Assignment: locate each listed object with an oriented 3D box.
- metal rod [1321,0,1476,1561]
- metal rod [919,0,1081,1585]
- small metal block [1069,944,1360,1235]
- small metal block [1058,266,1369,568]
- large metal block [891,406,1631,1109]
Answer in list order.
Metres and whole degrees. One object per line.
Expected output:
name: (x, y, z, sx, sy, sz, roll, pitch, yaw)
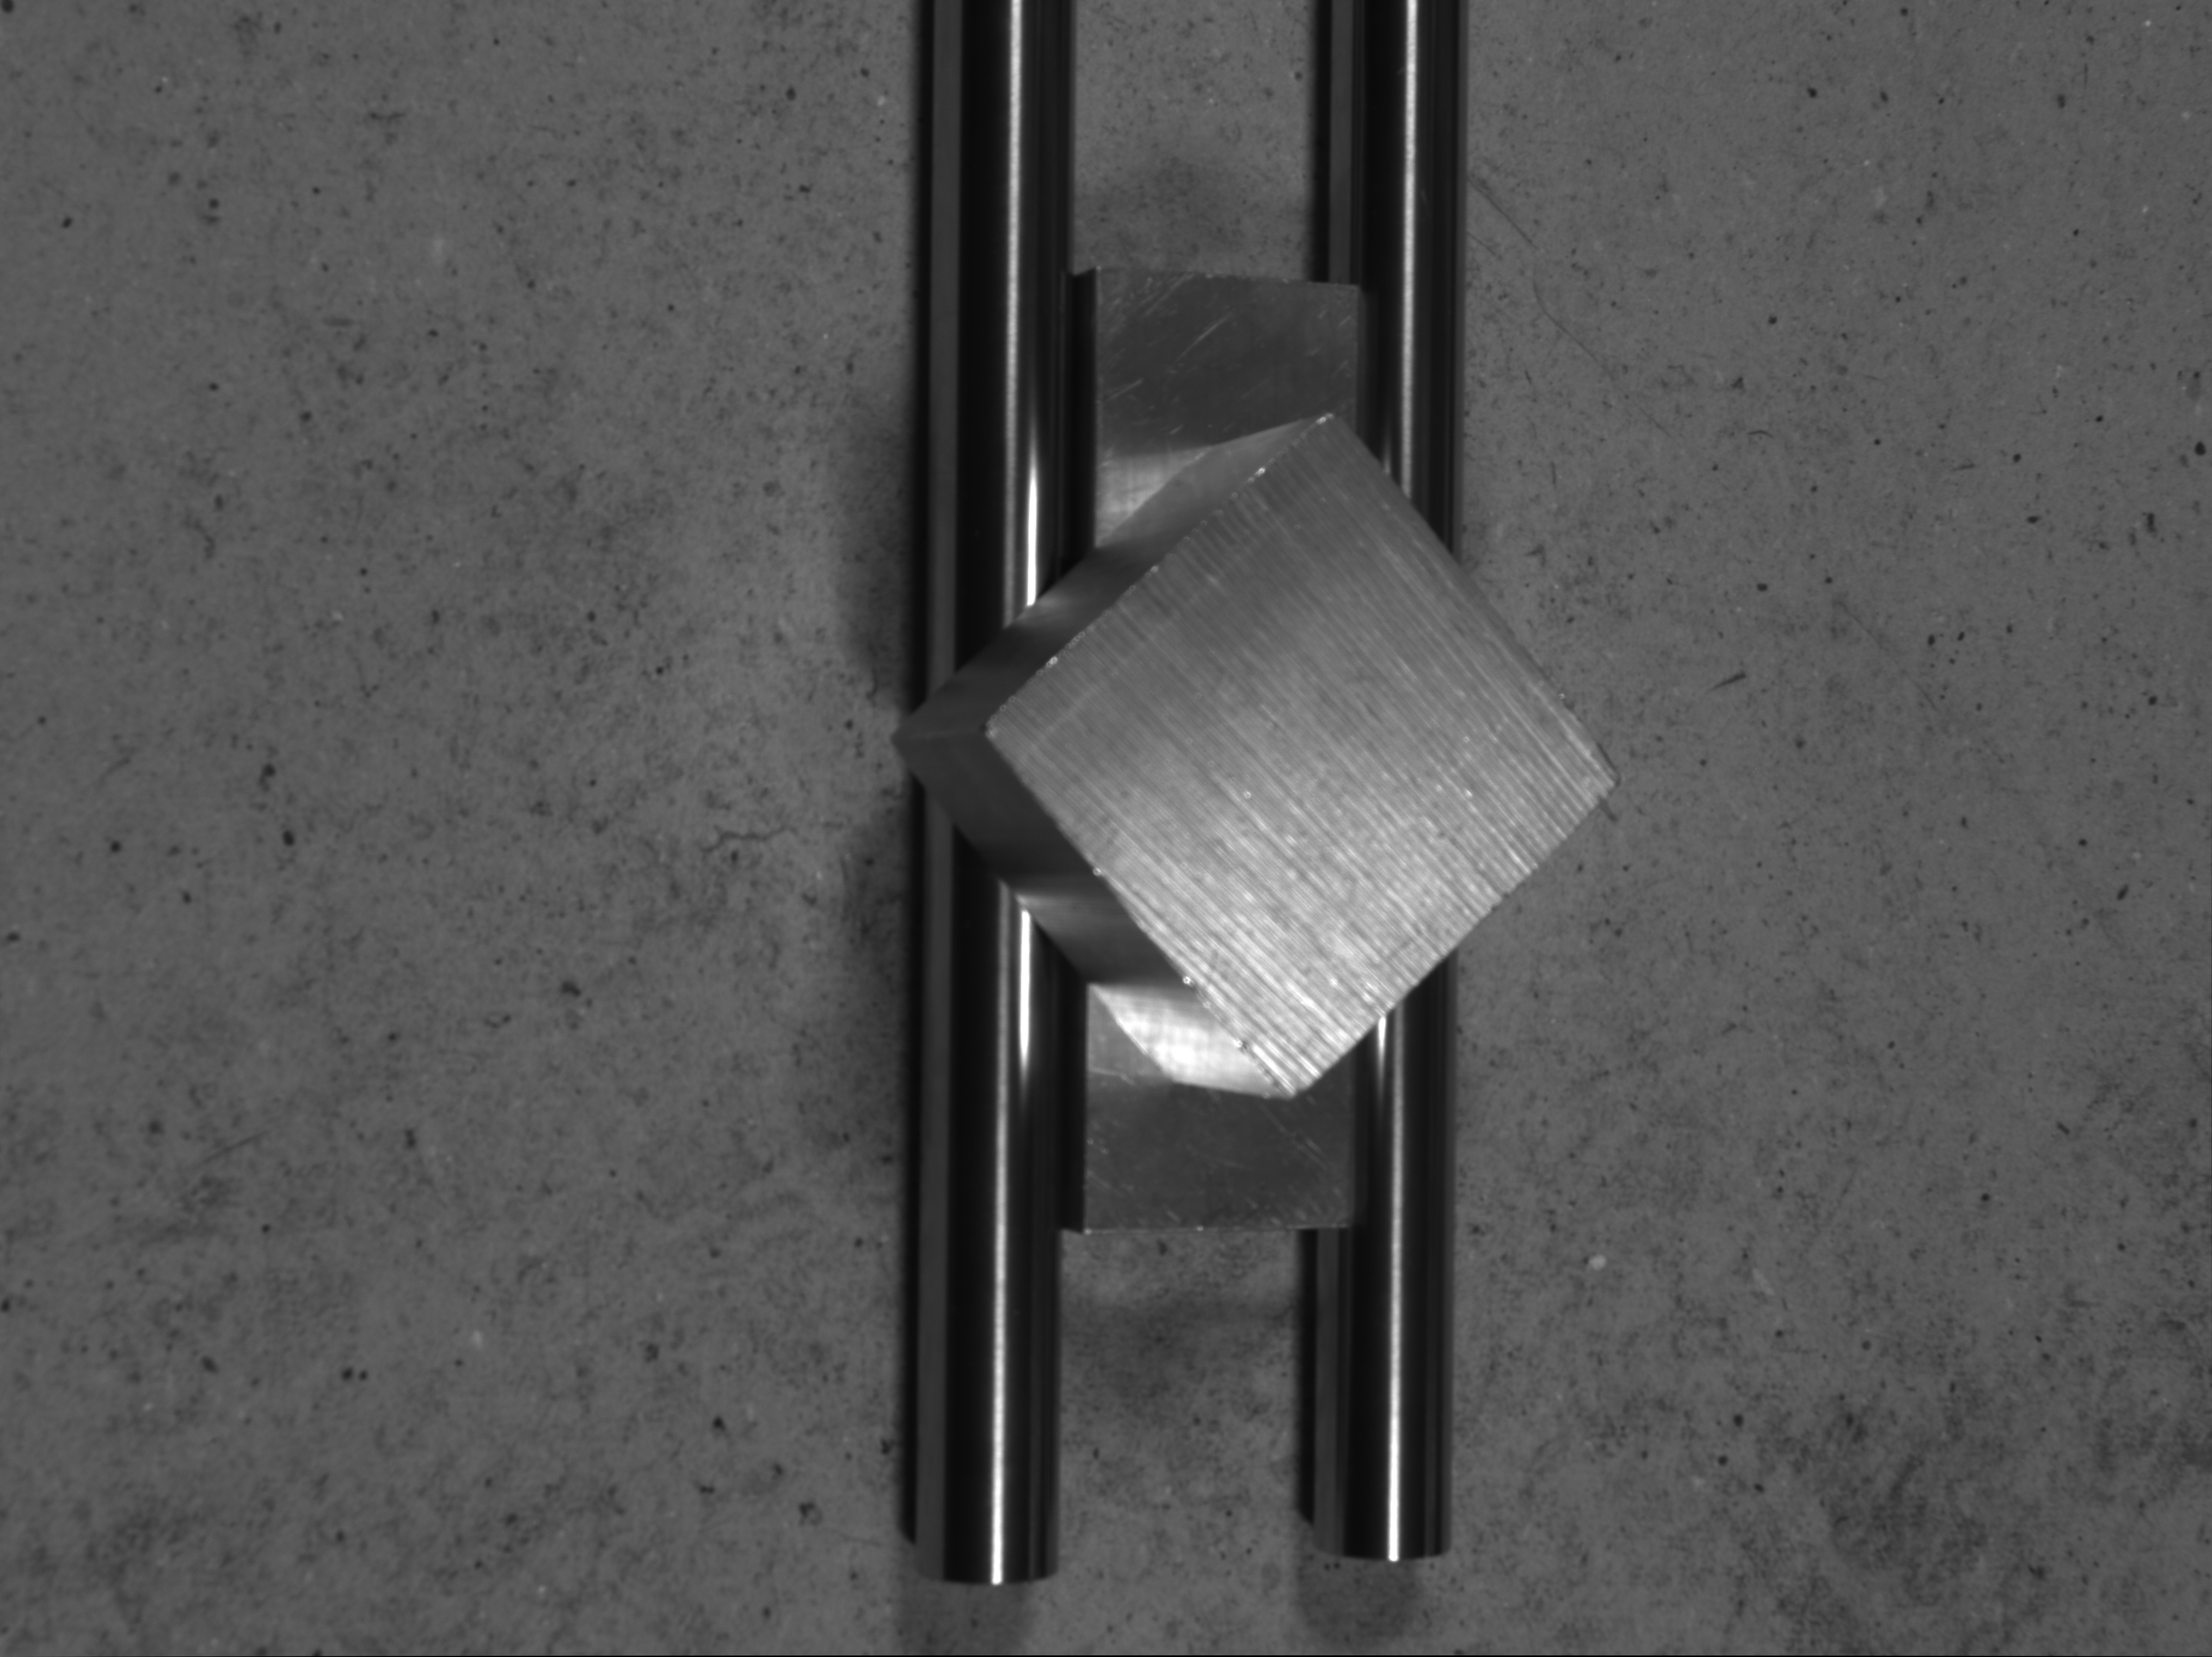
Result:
metal rod: (0.053, -0.020, 0.663, 0.025, 0.025, 0.300, 1, 90, -20)
metal rod: (-0.018, -0.021, 0.637, 0.025, 0.025, 0.300, 1, 90, -20)
small metal block: (0.017, 0.045, 0.648, 0.050, 0.025, 0.050, 1, 90, -20)
small metal block: (0.018, -0.071, 0.649, 0.050, 0.025, 0.050, 1, 90, -20)
large metal block: (0.026, -0.012, 0.611, 0.080, 0.050, 0.080, -43, 103, -15)
